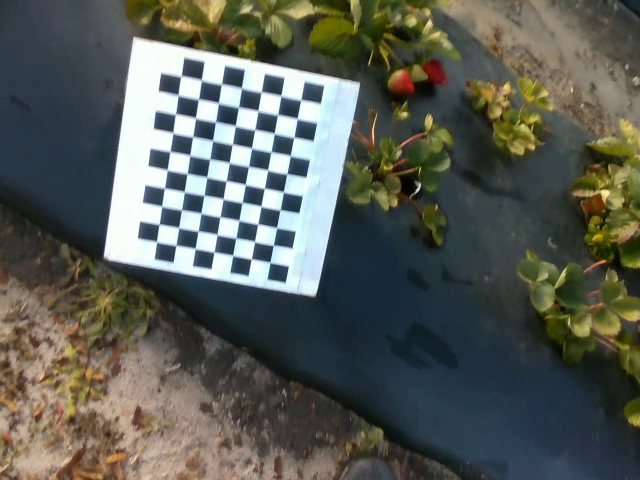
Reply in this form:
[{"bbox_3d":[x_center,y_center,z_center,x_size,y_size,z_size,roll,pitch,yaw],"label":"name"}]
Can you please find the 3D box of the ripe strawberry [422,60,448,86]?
[{"bbox_3d":[0.226,-0.315,0.926,0.048,0.065,0.050,-36,6,7],"label":"ripe strawberry"}]
